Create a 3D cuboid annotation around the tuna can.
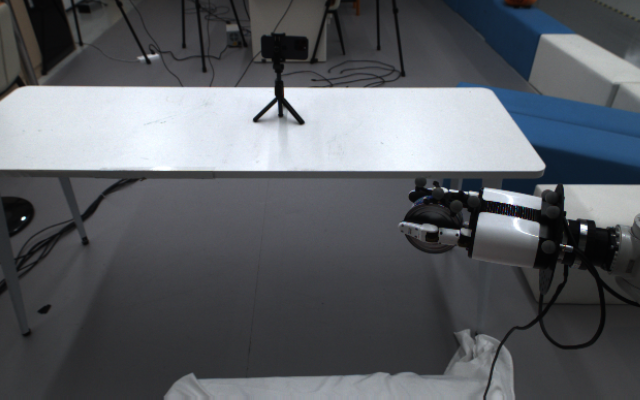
[{"bbox_3d":[0.174,0.036,0.732,0.085,0.085,0.034,16,28,19],"label":"tuna can"}]
